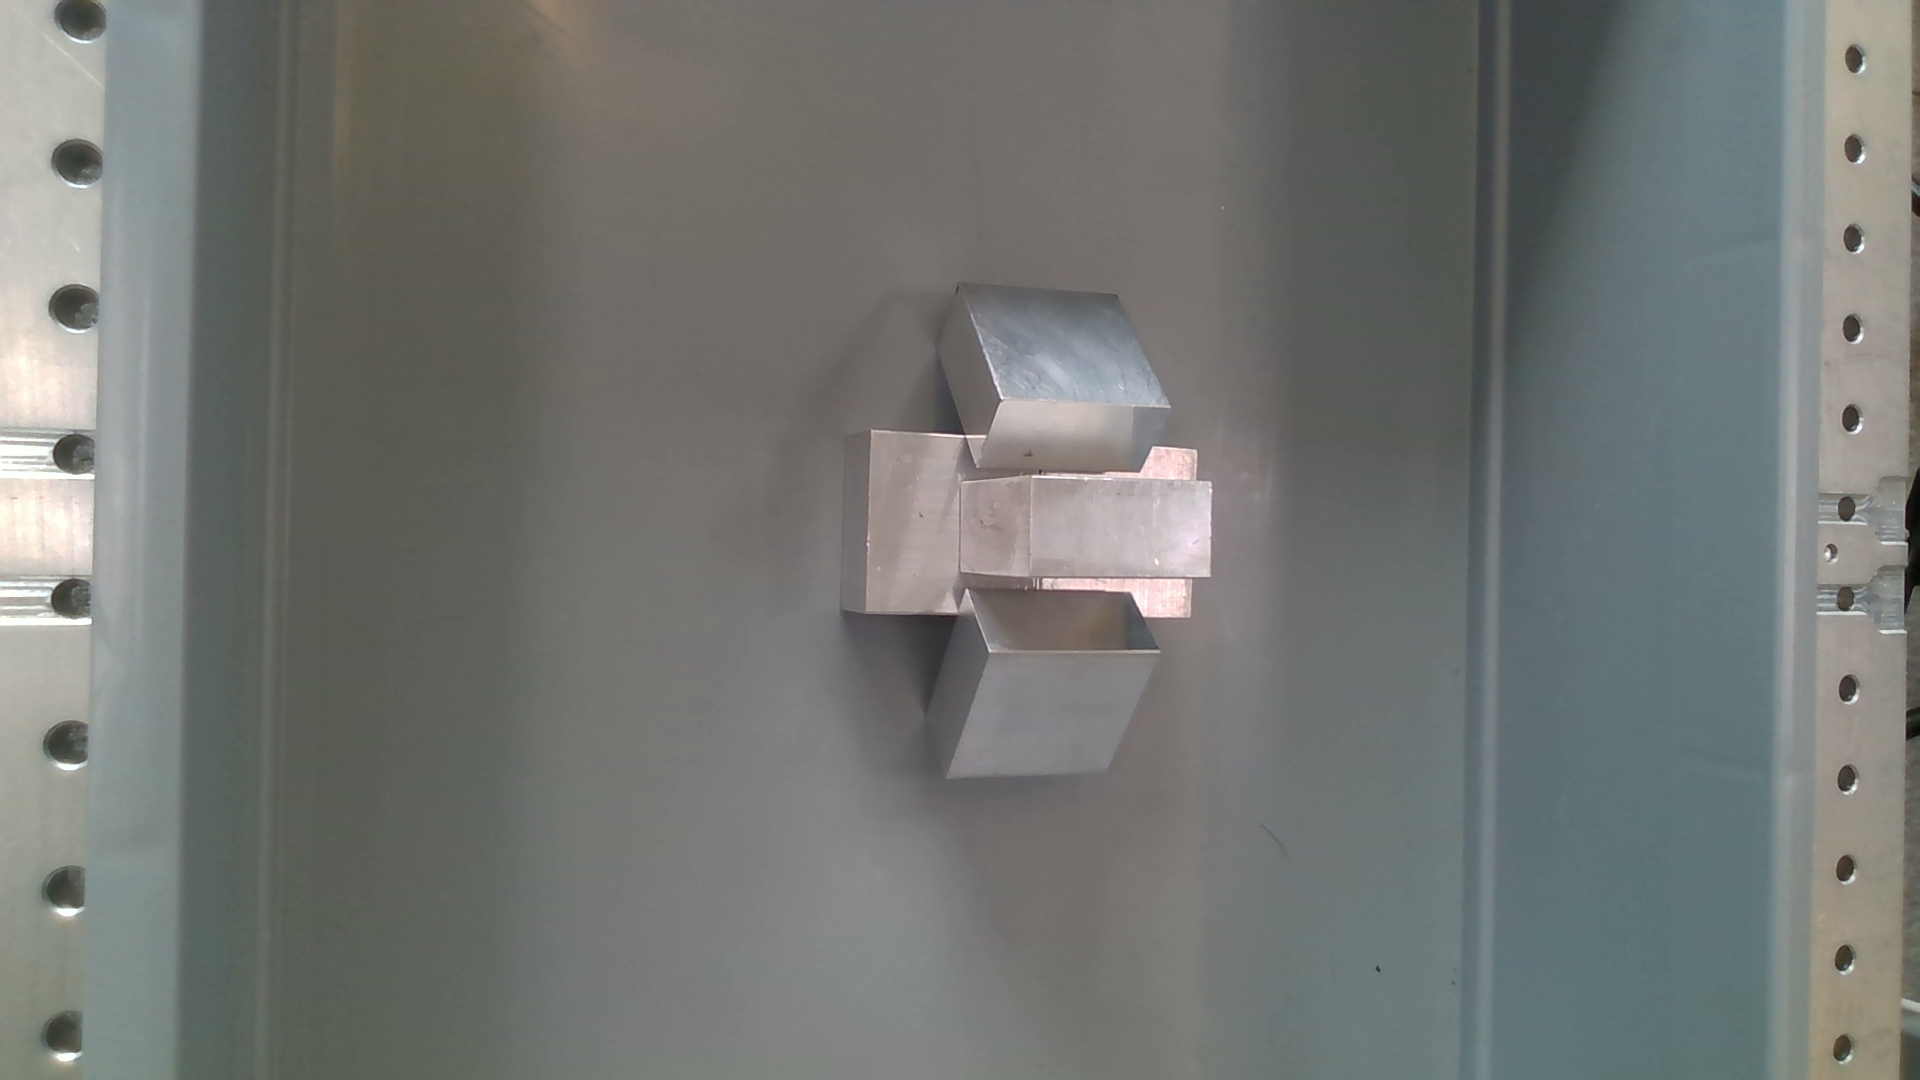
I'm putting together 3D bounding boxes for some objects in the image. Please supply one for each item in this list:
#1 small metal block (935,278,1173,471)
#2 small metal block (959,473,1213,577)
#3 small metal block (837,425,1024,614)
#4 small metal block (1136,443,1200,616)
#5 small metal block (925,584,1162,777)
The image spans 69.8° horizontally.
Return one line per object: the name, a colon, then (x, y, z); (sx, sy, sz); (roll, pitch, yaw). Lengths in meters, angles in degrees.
small metal block: (0.025, -0.046, 0.387); (0.050, 0.025, 0.050); (1, 46, -20)
small metal block: (0.032, -0.004, 0.364); (0.050, 0.050, 0.025); (0, 90, -20)
small metal block: (-0.006, -0.005, 0.390); (0.050, 0.025, 0.050); (3, 89, -20)
small metal block: (0.042, -0.004, 0.407); (0.050, 0.025, 0.050); (3, 90, -20)
small metal block: (0.022, 0.040, 0.388); (0.050, 0.025, 0.050); (2, 129, -20)
